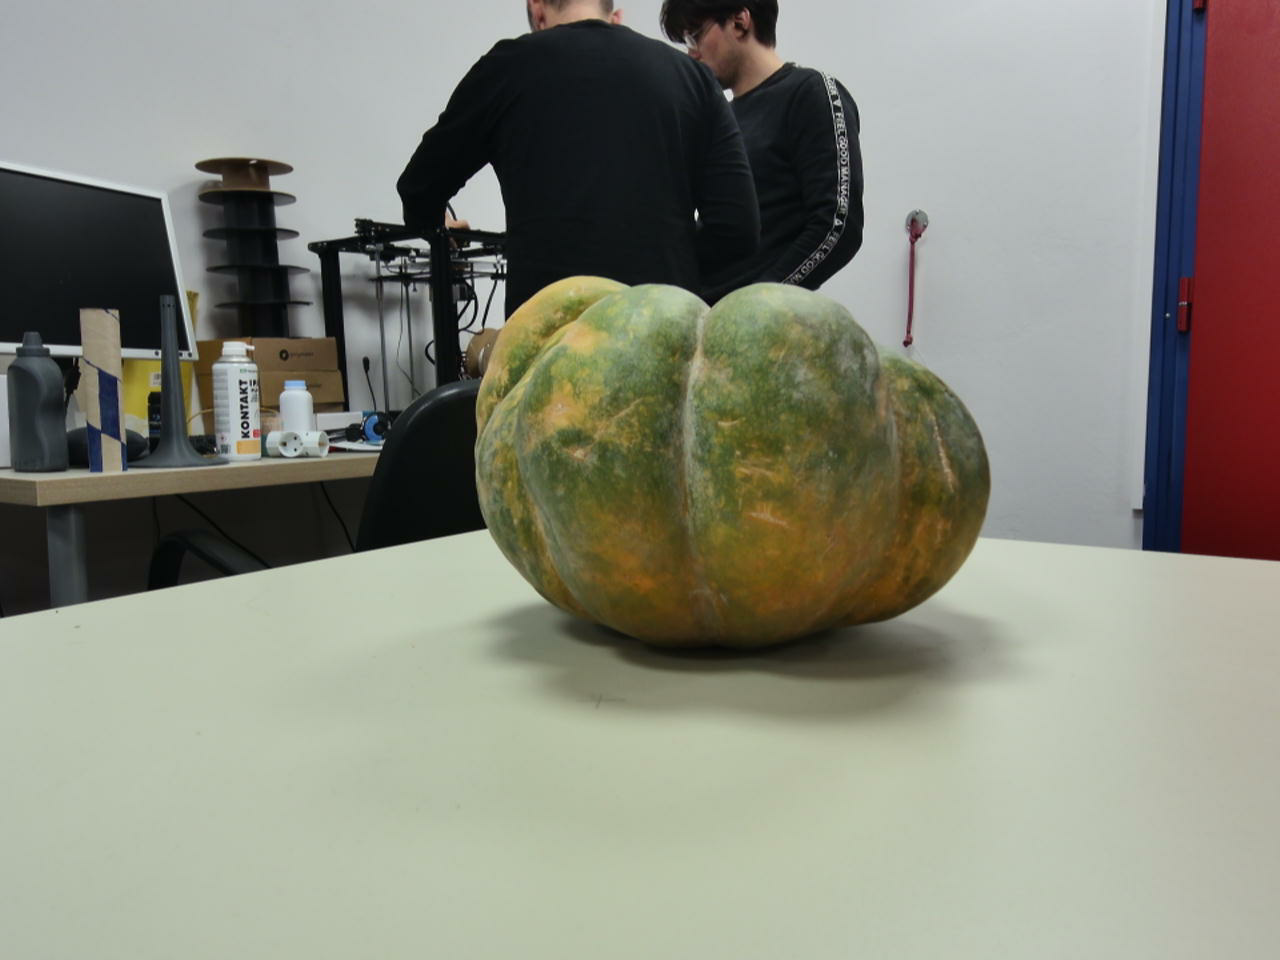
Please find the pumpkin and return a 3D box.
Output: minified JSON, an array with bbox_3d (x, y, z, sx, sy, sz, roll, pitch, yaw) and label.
[{"bbox_3d":[0.040,-0.012,0.492,0.237,0.173,0.270,-1,3,-15],"label":"pumpkin"}]
